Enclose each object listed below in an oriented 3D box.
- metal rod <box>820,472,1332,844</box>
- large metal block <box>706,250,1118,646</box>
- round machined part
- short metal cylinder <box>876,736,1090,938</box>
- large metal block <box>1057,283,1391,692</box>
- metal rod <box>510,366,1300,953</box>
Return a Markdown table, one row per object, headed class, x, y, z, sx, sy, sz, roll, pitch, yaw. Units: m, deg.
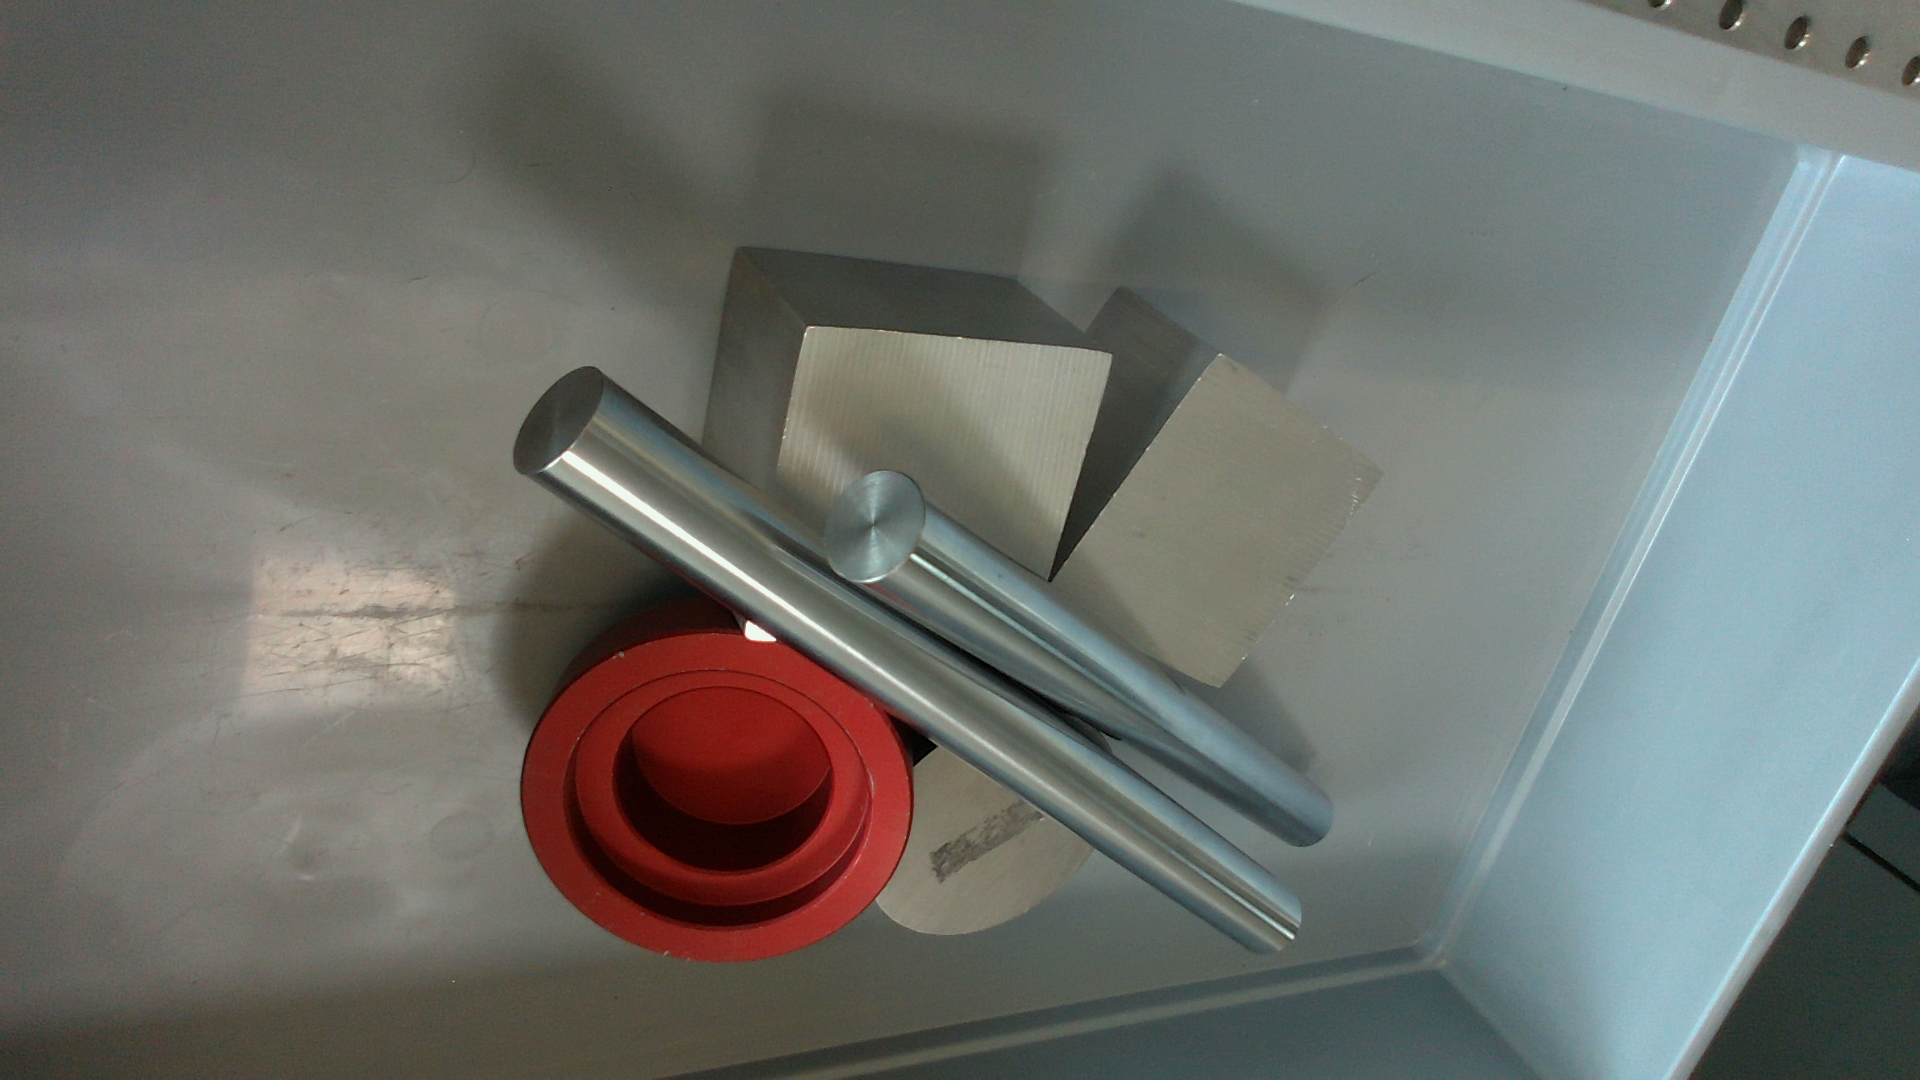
| class | x | y | z | sx | sy | sz | roll | pitch | yaw |
| --- | --- | --- | --- | --- | --- | --- | --- | --- | --- |
| metal rod | 0.055 | 0.051 | 0.400 | 0.025 | 0.025 | 0.301 | -47 | 143 | 5 |
| large metal block | -0.017 | -0.022 | 0.345 | 0.080 | 0.050 | 0.080 | 1 | 118 | -29 |
| round machined part | -0.062 | 0.059 | 0.365 | 0.098 | 0.042 | 0.098 | -1 | 113 | -2 |
| short metal cylinder | 0.000 | 0.072 | 0.414 | 0.080 | 0.050 | 0.080 | -14 | 124 | -21 |
| large metal block | 0.062 | -0.013 | 0.395 | 0.080 | 0.050 | 0.080 | 27 | 104 | -37 |
| metal rod | 0.012 | 0.051 | 0.359 | 0.025 | 0.025 | 0.301 | -47 | 130 | 4 |
